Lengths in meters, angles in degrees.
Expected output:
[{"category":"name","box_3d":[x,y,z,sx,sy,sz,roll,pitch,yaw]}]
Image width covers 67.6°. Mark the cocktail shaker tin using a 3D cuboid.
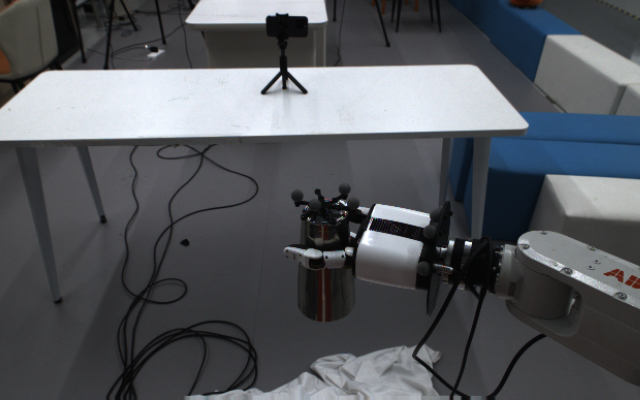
[{"category":"cocktail shaker tin","box_3d":[0.012,0.085,0.722,0.093,0.170,0.093,-1,32,1]}]
